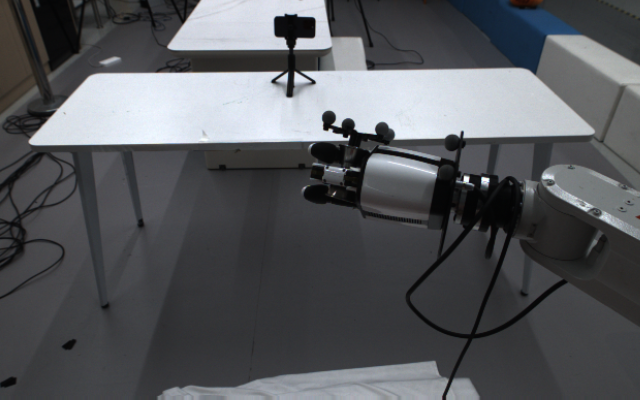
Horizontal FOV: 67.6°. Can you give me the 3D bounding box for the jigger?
[{"bbox_3d":[0.037,-0.034,0.619,0.043,0.071,0.043,14,1,0],"label":"jigger"}]
